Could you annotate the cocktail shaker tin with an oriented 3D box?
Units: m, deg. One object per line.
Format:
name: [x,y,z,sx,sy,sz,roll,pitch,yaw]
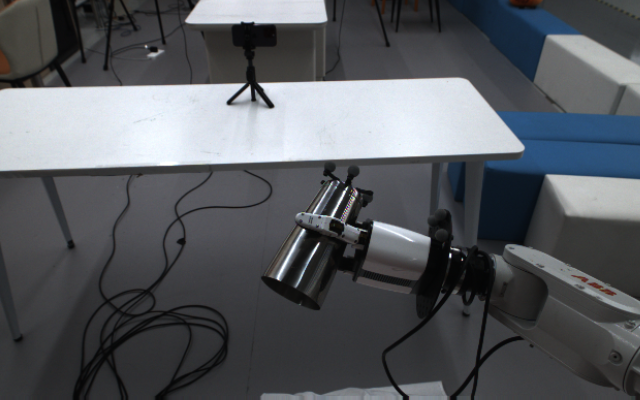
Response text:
cocktail shaker tin: [0.000,0.055,0.684,0.093,0.093,0.170,18,66,21]
